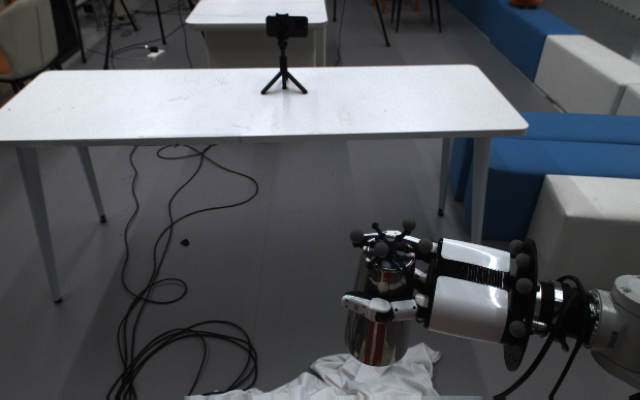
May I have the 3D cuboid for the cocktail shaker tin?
[{"bbox_3d":[0.086,0.126,0.636,0.093,0.170,0.093,1,39,0],"label":"cocktail shaker tin"}]
